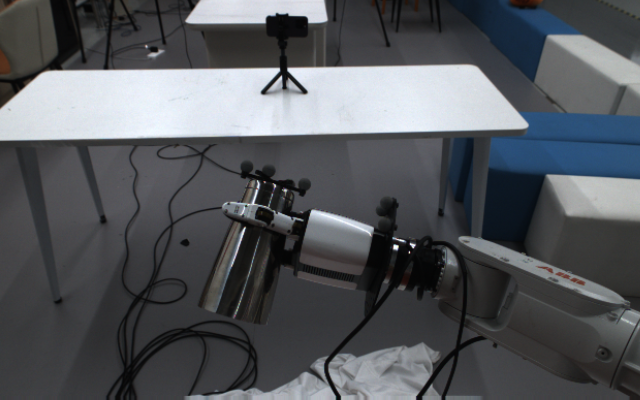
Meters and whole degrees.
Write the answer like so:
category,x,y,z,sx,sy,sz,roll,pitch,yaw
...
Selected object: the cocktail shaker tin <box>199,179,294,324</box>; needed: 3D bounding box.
category,x,y,z,sx,sy,sz,roll,pitch,yaw
cocktail shaker tin,-0.084,0.063,0.626,0.093,0.093,0.170,13,79,15
